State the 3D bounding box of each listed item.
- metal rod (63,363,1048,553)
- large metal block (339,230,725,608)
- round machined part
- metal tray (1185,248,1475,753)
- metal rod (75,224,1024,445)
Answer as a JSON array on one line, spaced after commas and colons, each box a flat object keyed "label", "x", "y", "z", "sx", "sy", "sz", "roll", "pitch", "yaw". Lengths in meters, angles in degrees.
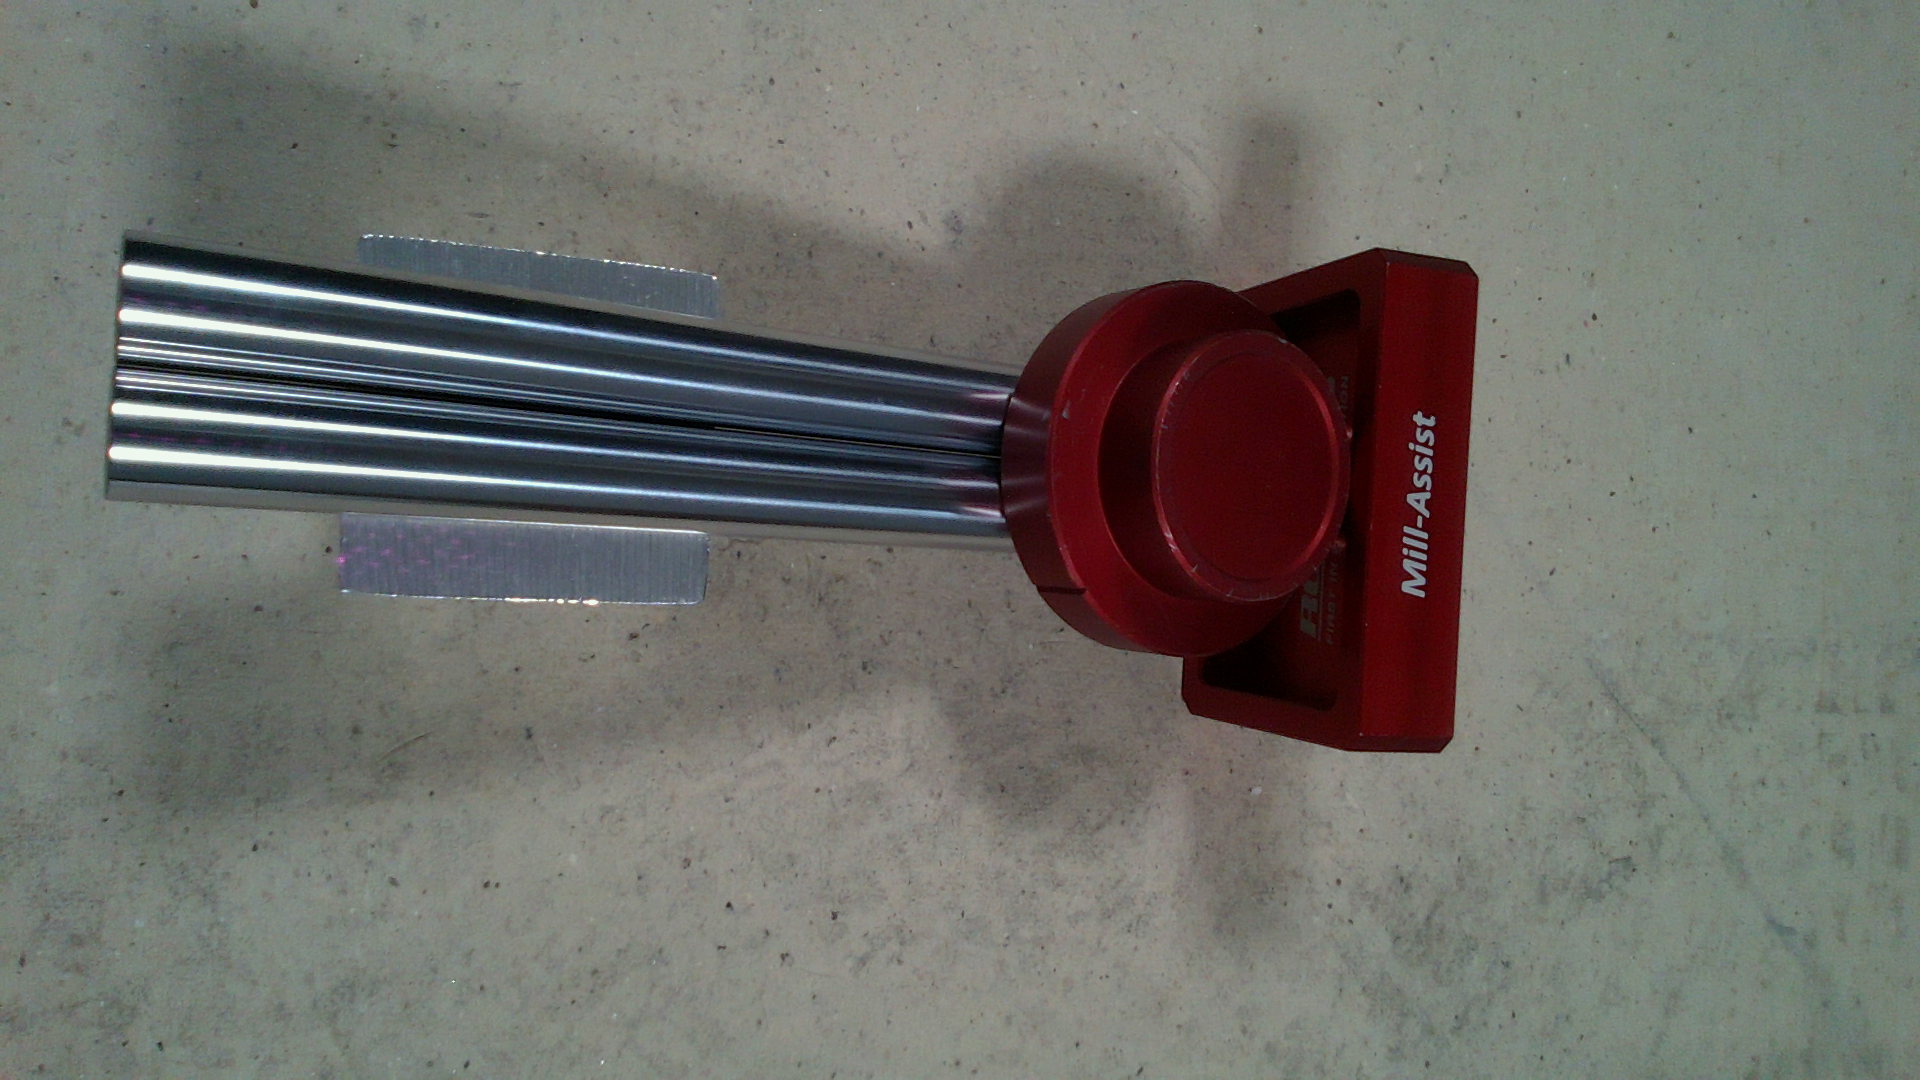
[{"label": "metal rod", "x": -0.037, "y": -0.012, "z": 0.333, "sx": 0.301, "sy": 0.025, "sz": 0.025, "roll": 4, "pitch": 89, "yaw": -33}, {"label": "large metal block", "x": -0.104, "y": -0.026, "z": 0.338, "sx": 0.080, "sy": 0.050, "sz": 0.080, "roll": 3, "pitch": 89, "yaw": -20}, {"label": "round machined part", "x": 0.062, "y": -0.018, "z": 0.355, "sx": 0.098, "sy": 0.042, "sz": 0.098, "roll": -1, "pitch": 93, "yaw": -30}, {"label": "metal tray", "x": 0.103, "y": -0.010, "z": 0.396, "sx": 0.030, "sy": 0.090, "sz": 0.130, "roll": 4, "pitch": 89, "yaw": -20}, {"label": "metal rod", "x": -0.035, "y": -0.039, "z": 0.333, "sx": 0.301, "sy": 0.025, "sz": 0.025, "roll": 3, "pitch": 89, "yaw": -33}]
